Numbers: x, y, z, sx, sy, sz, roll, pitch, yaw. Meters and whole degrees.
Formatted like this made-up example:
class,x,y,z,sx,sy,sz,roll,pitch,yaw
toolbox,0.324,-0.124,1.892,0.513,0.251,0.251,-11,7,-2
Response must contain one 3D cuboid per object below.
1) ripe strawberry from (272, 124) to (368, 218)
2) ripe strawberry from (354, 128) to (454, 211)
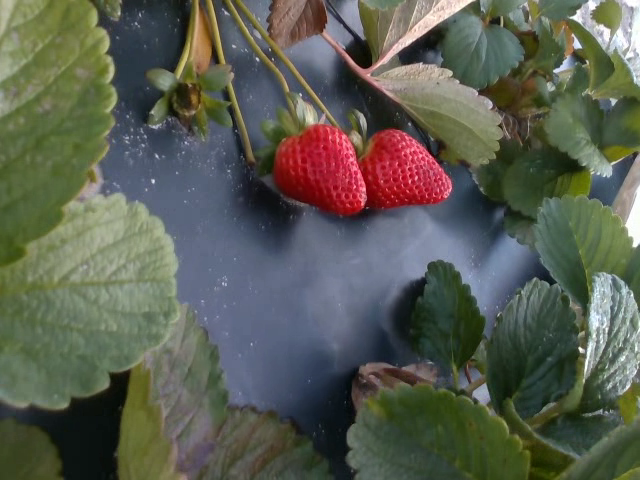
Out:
class,x,y,z,sx,sy,sz,roll,pitch,yaw
ripe strawberry,0.004,-0.034,0.303,0.048,0.056,0.041,-18,-23,-46
ripe strawberry,0.052,-0.040,0.344,0.064,0.058,0.051,26,-38,1
